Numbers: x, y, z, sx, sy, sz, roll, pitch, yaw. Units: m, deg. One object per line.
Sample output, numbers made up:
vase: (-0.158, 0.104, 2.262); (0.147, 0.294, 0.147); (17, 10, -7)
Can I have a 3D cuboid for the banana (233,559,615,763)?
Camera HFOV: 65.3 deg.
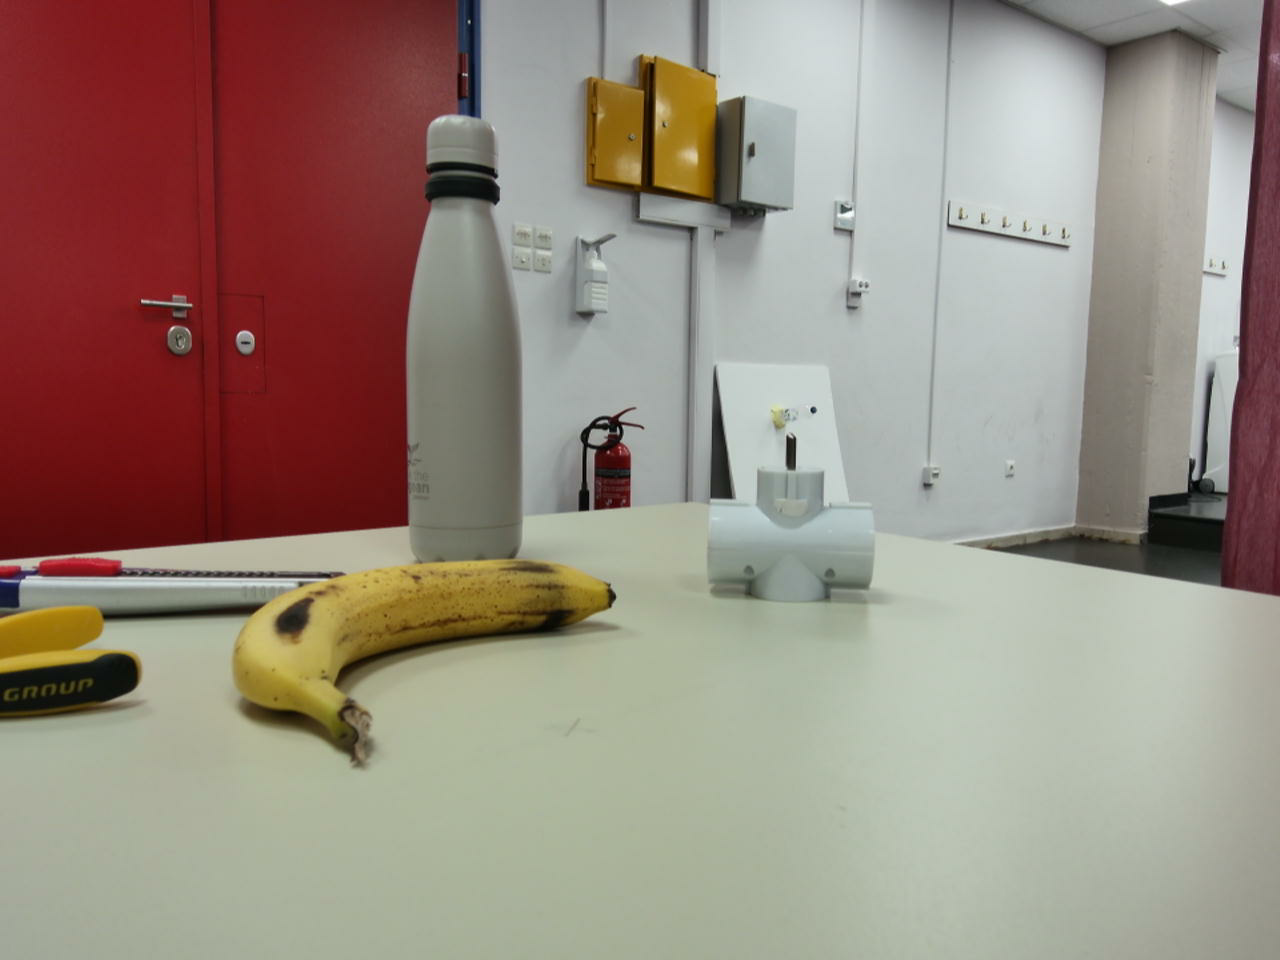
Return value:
banana: (-0.091, 0.059, 0.411); (0.097, 0.038, 0.186); (2, 4, 24)
